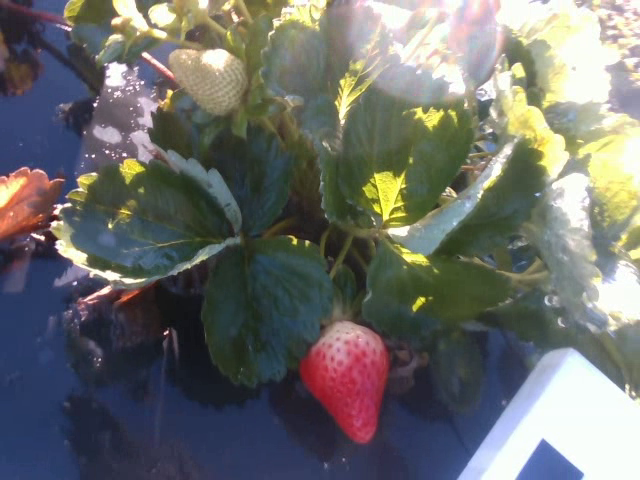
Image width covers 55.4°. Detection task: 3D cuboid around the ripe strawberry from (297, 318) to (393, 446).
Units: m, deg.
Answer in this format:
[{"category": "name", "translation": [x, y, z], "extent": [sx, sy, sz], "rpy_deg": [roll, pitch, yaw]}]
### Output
[{"category": "ripe strawberry", "translation": [0.012, 0.070, 0.283], "extent": [0.040, 0.065, 0.040], "rpy_deg": [-4, -14, -16]}]
